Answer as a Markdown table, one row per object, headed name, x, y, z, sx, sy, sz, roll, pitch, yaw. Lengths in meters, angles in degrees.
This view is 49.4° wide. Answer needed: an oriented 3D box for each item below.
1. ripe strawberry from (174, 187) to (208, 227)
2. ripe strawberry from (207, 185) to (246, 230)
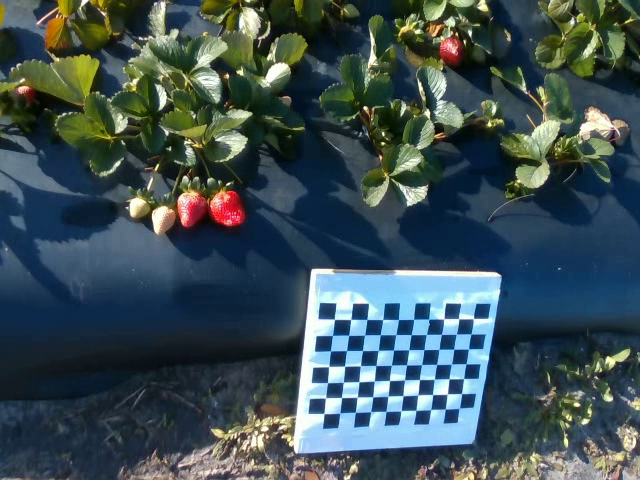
| name | x | y | z | sx | sy | sz | roll | pitch | yaw |
| --- | --- | --- | --- | --- | --- | --- | --- | --- | --- |
| ripe strawberry | -0.174 | -0.040 | 0.916 | 0.050 | 0.061 | 0.043 | 27 | -39 | -22 |
| ripe strawberry | -0.120 | -0.039 | 0.925 | 0.067 | 0.057 | 0.051 | 43 | -1 | 33 |
